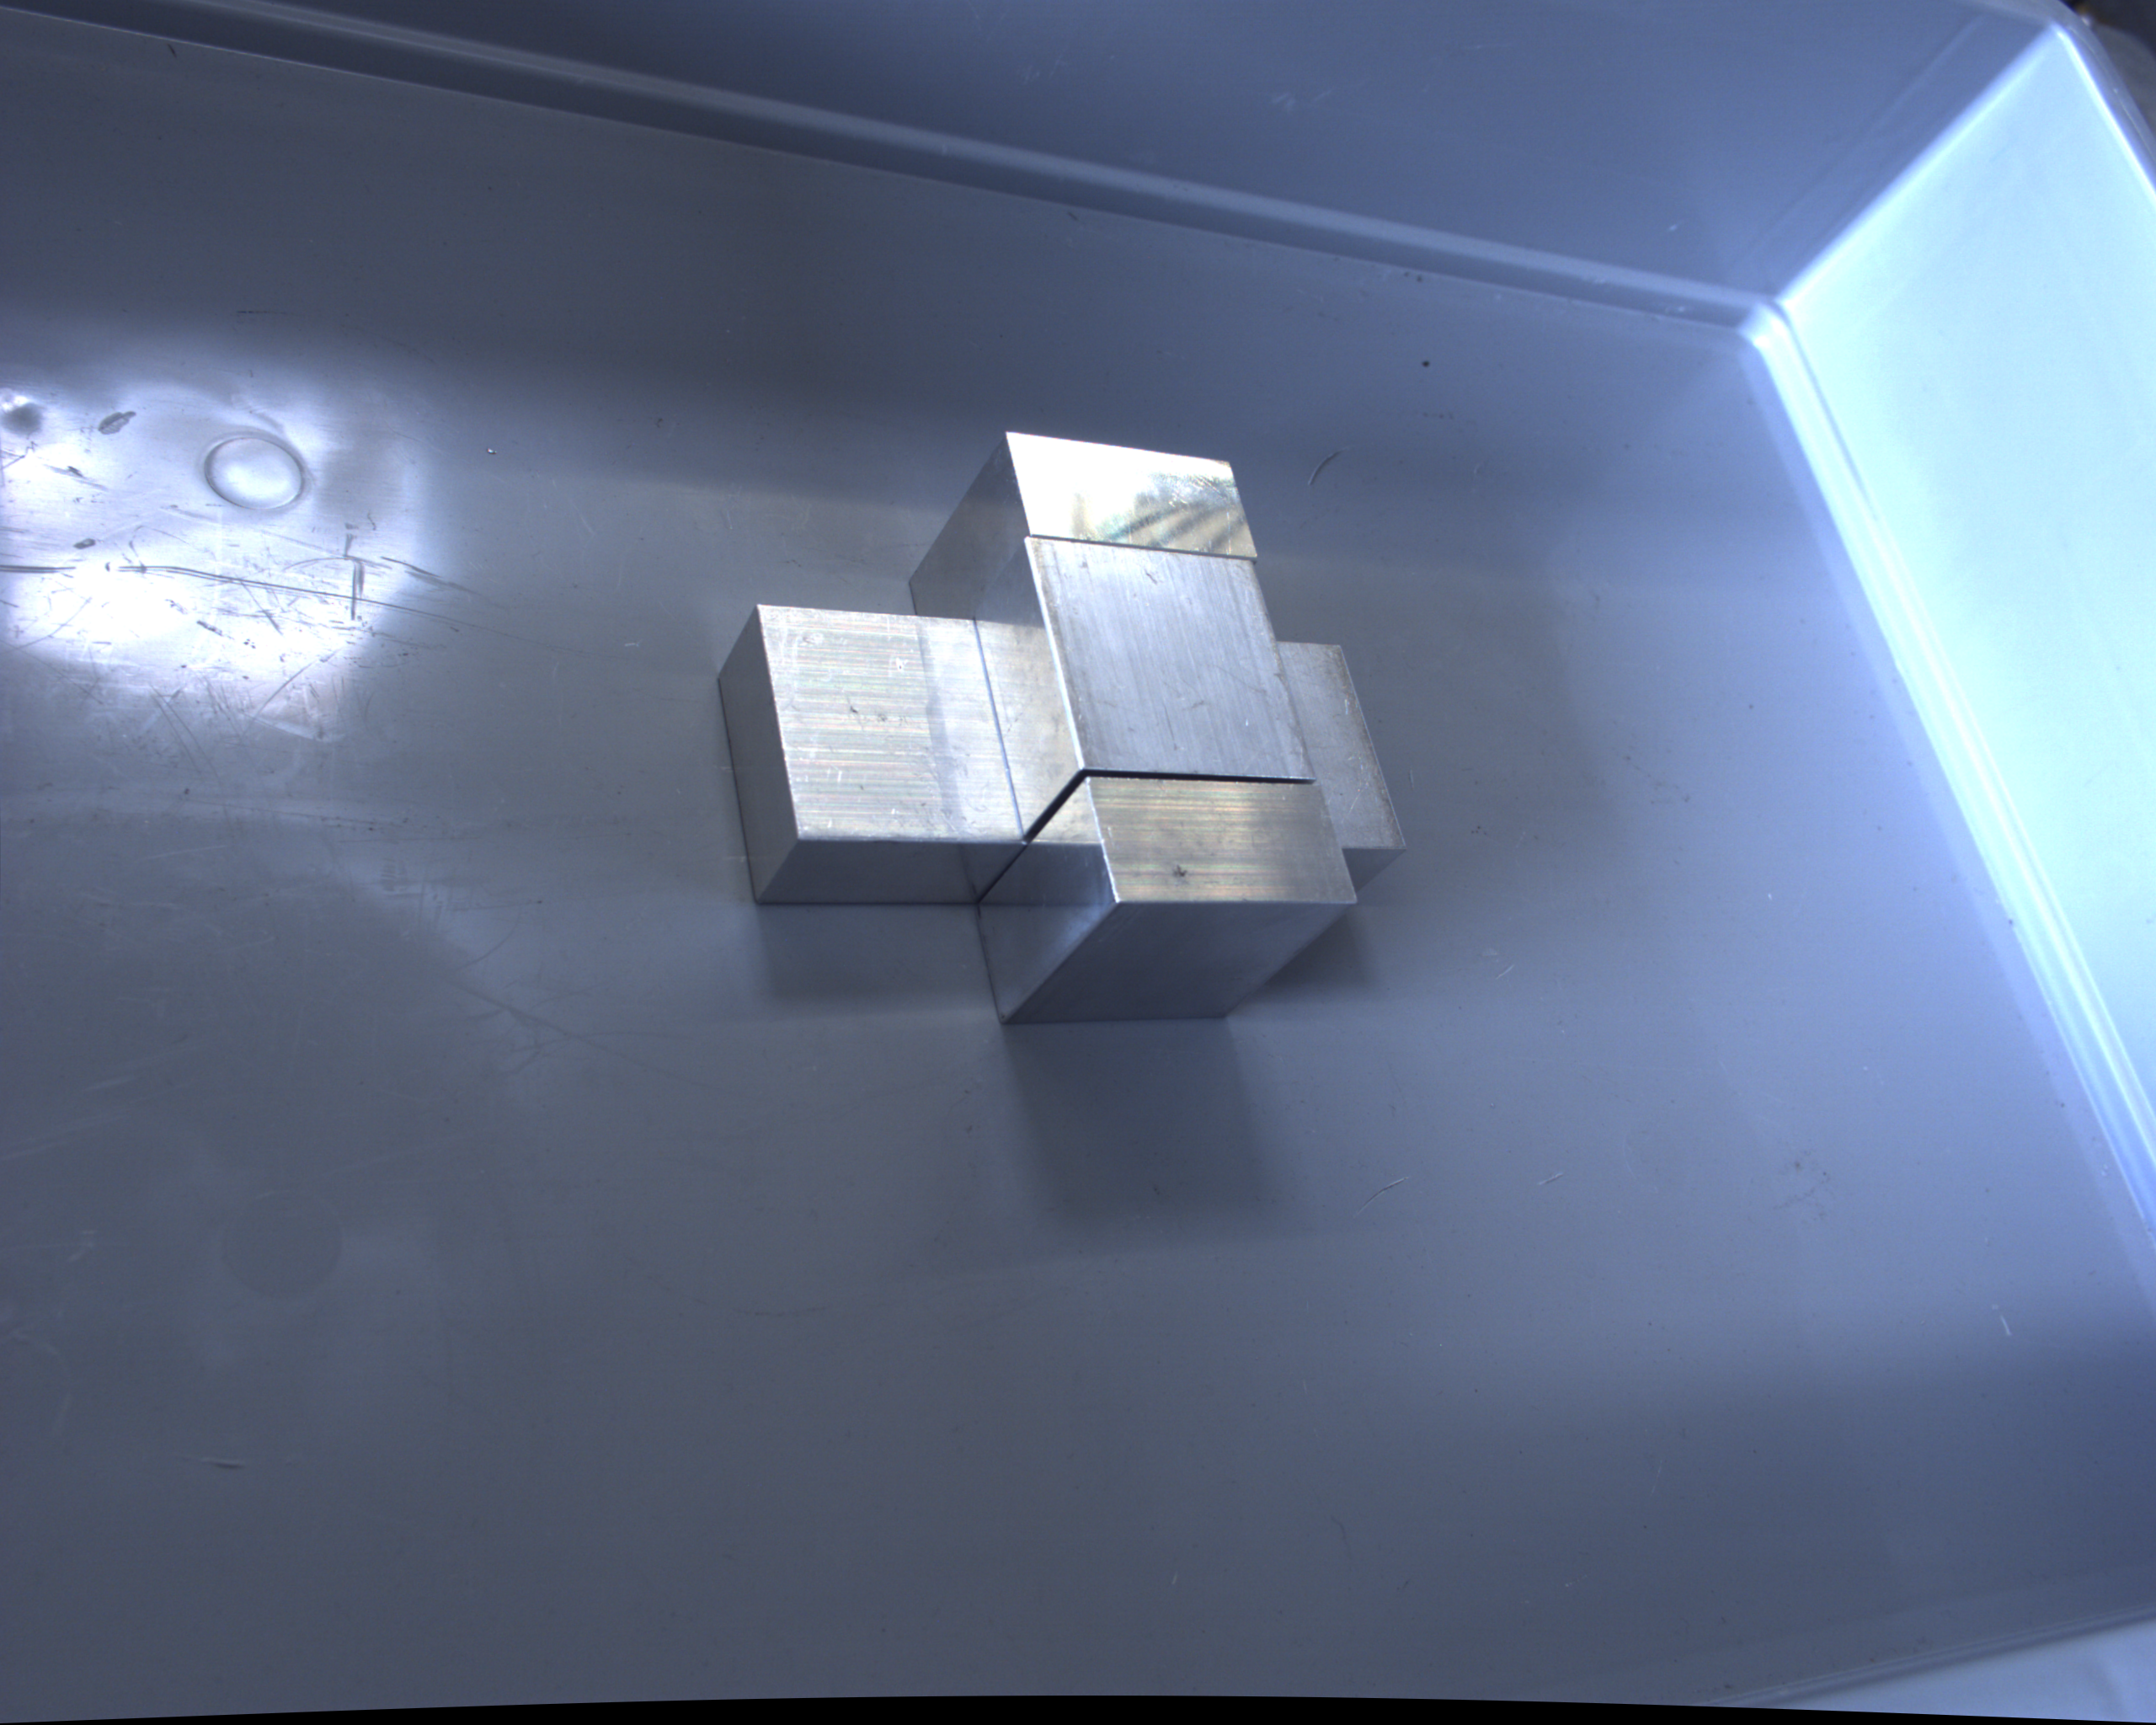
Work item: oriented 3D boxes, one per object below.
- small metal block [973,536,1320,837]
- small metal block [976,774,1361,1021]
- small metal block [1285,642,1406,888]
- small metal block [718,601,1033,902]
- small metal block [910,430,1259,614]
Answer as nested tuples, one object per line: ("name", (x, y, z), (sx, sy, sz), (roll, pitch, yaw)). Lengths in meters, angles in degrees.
("small metal block", (0.012, -0.032, 0.396), (0.050, 0.025, 0.050), (1, 61, -28))
("small metal block", (0.016, 0.007, 0.389), (0.050, 0.050, 0.025), (1, 62, -28))
("small metal block", (0.034, -0.019, 0.433), (0.050, 0.025, 0.050), (1, 61, -28))
("small metal block", (-0.037, -0.020, 0.395), (0.050, 0.025, 0.050), (1, 61, -28))
("small metal block", (0.000, -0.059, 0.423), (0.050, 0.050, 0.025), (1, 62, -28))
